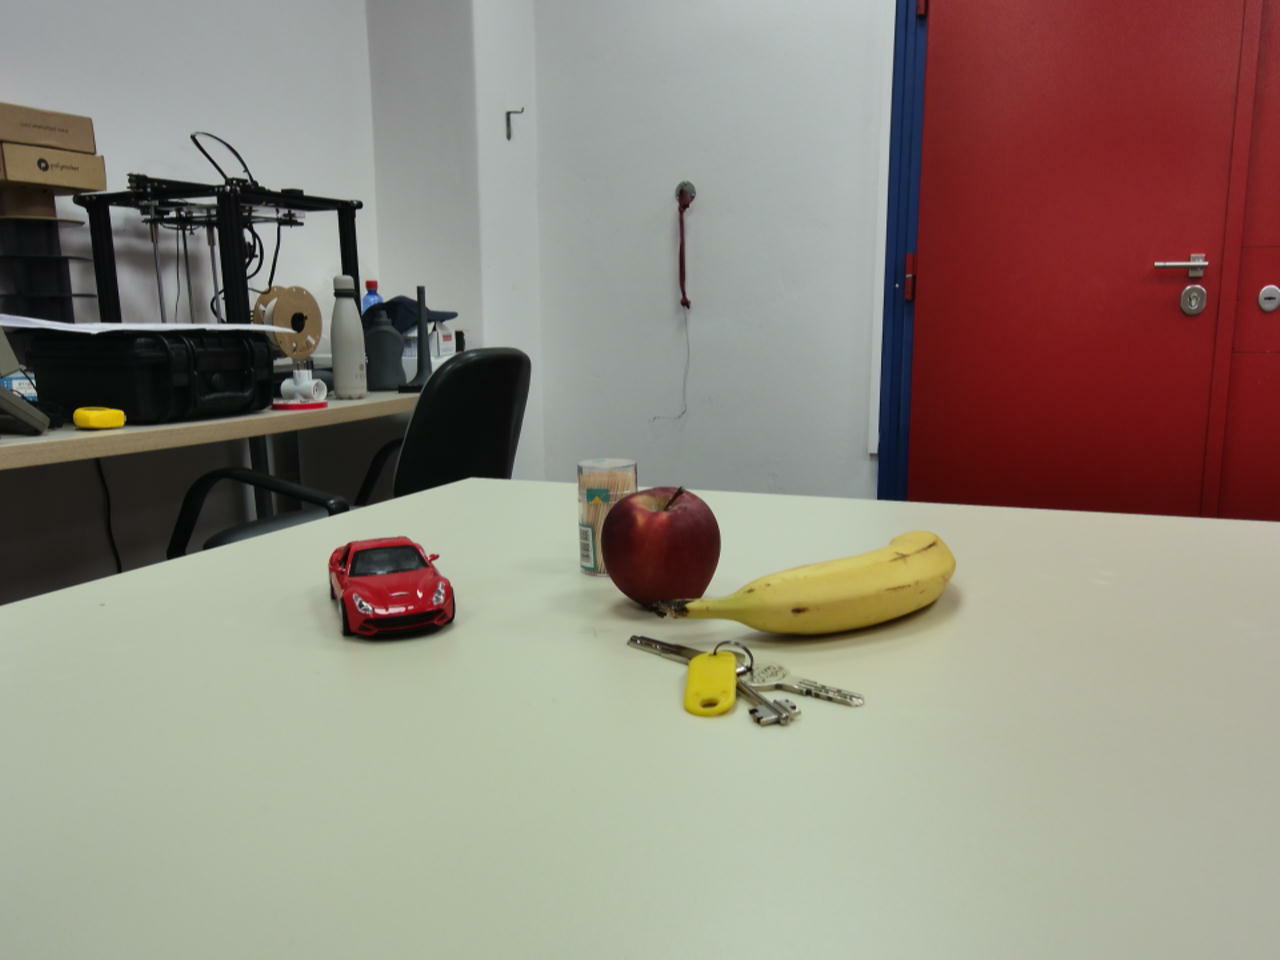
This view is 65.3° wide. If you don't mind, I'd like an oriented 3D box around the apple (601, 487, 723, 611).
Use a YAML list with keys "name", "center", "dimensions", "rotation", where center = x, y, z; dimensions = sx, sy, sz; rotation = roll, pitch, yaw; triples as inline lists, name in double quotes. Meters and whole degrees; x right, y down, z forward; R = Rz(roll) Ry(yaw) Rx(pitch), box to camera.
- name: "apple"
  center: [0.013, 0.039, 0.579]
  dimensions: [0.070, 0.072, 0.070]
  rotation: [0, 7, 0]
